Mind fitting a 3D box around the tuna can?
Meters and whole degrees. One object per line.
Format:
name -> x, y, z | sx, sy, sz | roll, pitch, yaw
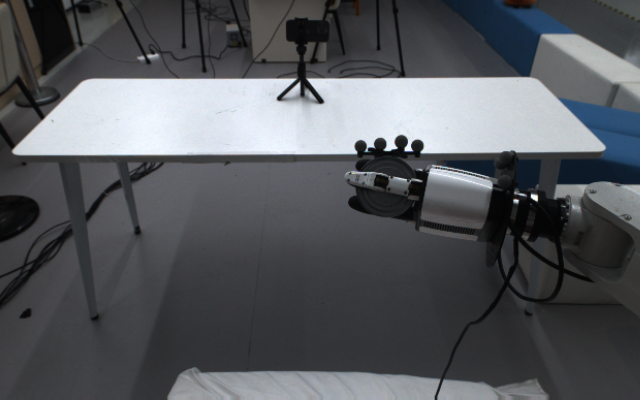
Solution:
tuna can -> 0.097, -0.014, 0.675 | 0.085, 0.085, 0.034 | 13, -2, 15
